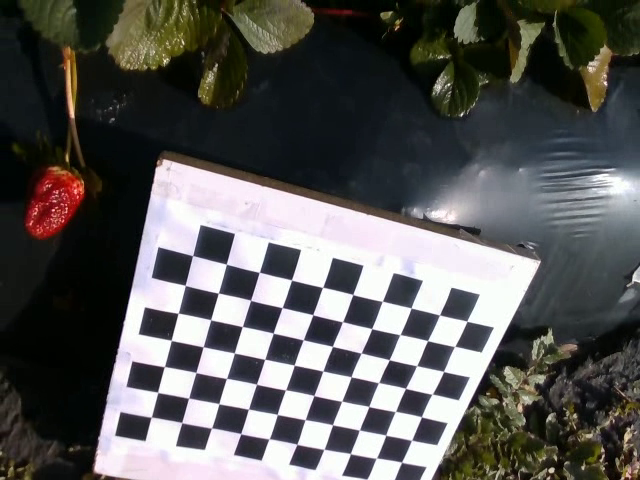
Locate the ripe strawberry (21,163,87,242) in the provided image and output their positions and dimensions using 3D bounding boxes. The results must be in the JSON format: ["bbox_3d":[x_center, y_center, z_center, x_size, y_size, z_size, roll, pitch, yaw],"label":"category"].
[{"bbox_3d":[-0.064,-0.010,0.131,0.015,0.023,0.015,22,-32,-15],"label":"ripe strawberry"}]
